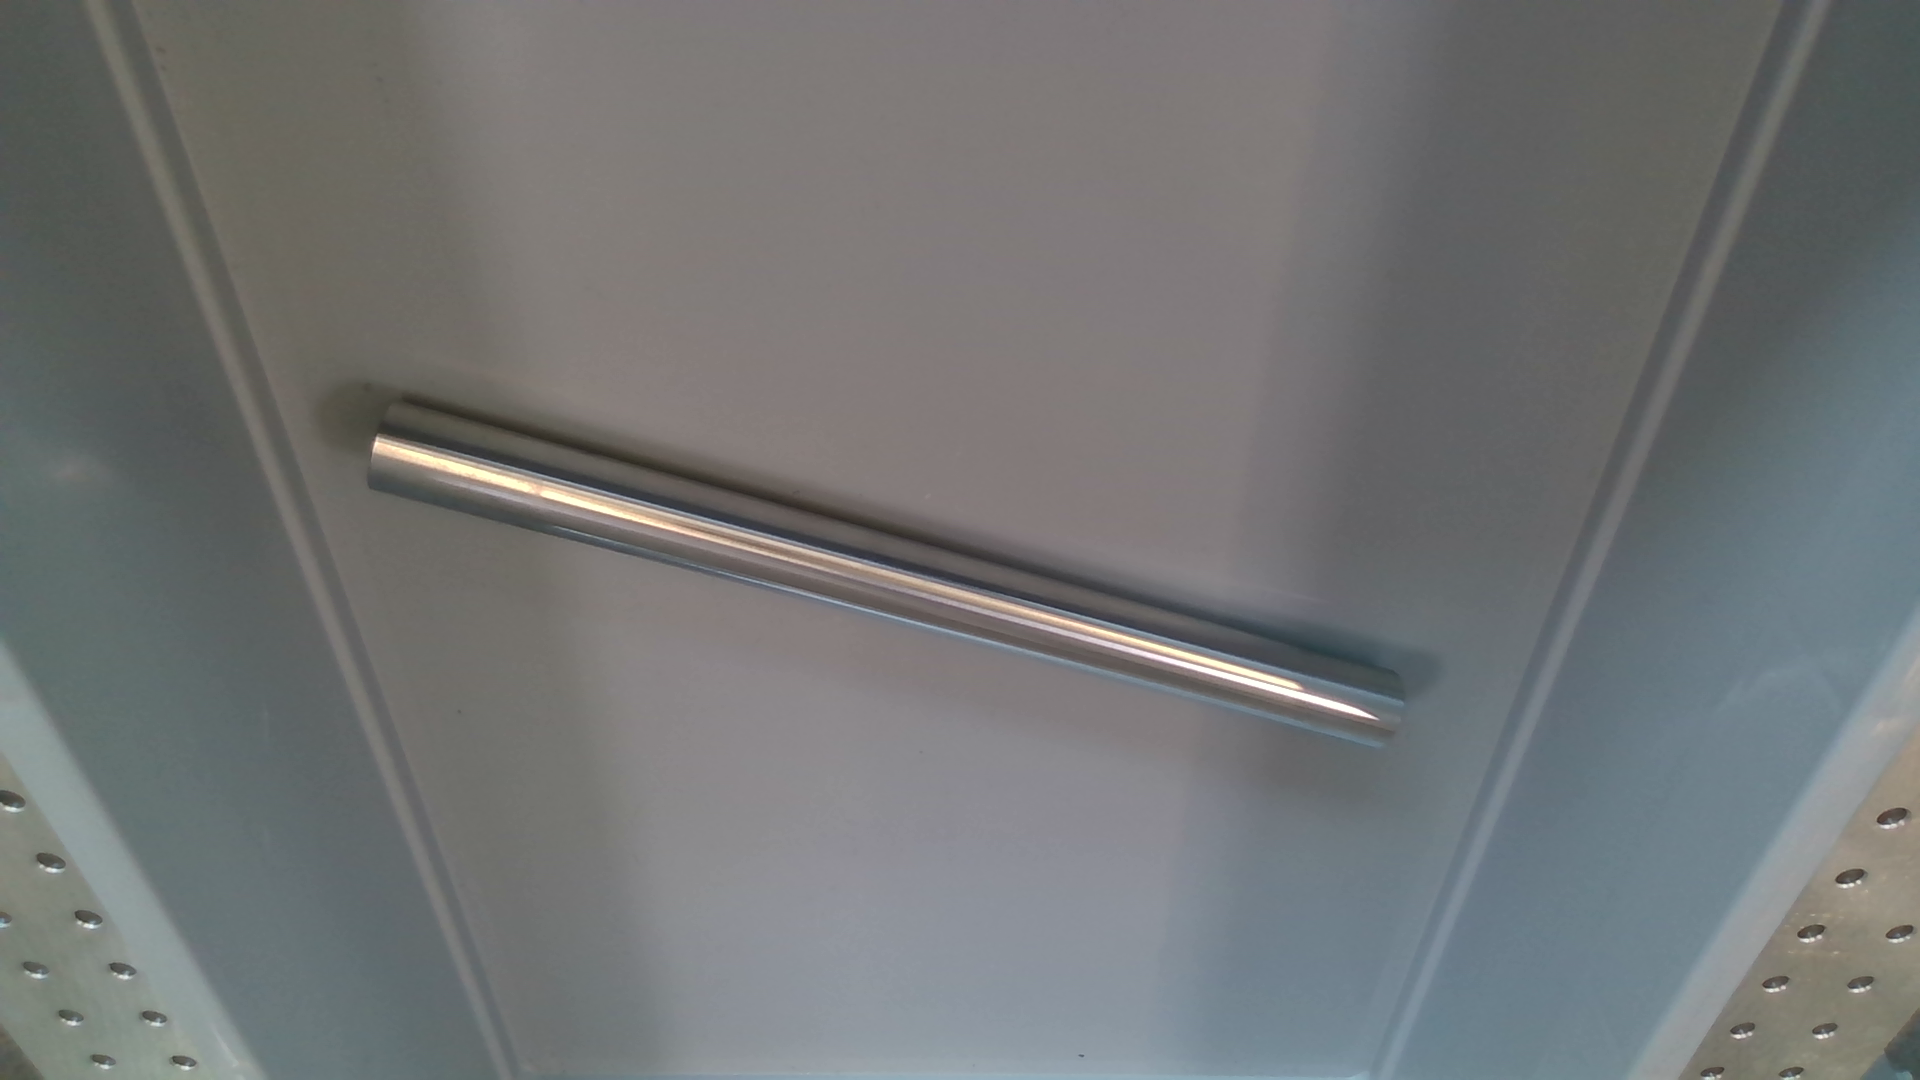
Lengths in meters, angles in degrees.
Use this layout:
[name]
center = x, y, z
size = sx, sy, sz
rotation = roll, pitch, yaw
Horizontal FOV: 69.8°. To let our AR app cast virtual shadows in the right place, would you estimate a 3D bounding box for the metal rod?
[metal rod]
center = -0.011, 0.013, 0.396
size = 0.300, 0.025, 0.025
rotation = 15, 128, -13
